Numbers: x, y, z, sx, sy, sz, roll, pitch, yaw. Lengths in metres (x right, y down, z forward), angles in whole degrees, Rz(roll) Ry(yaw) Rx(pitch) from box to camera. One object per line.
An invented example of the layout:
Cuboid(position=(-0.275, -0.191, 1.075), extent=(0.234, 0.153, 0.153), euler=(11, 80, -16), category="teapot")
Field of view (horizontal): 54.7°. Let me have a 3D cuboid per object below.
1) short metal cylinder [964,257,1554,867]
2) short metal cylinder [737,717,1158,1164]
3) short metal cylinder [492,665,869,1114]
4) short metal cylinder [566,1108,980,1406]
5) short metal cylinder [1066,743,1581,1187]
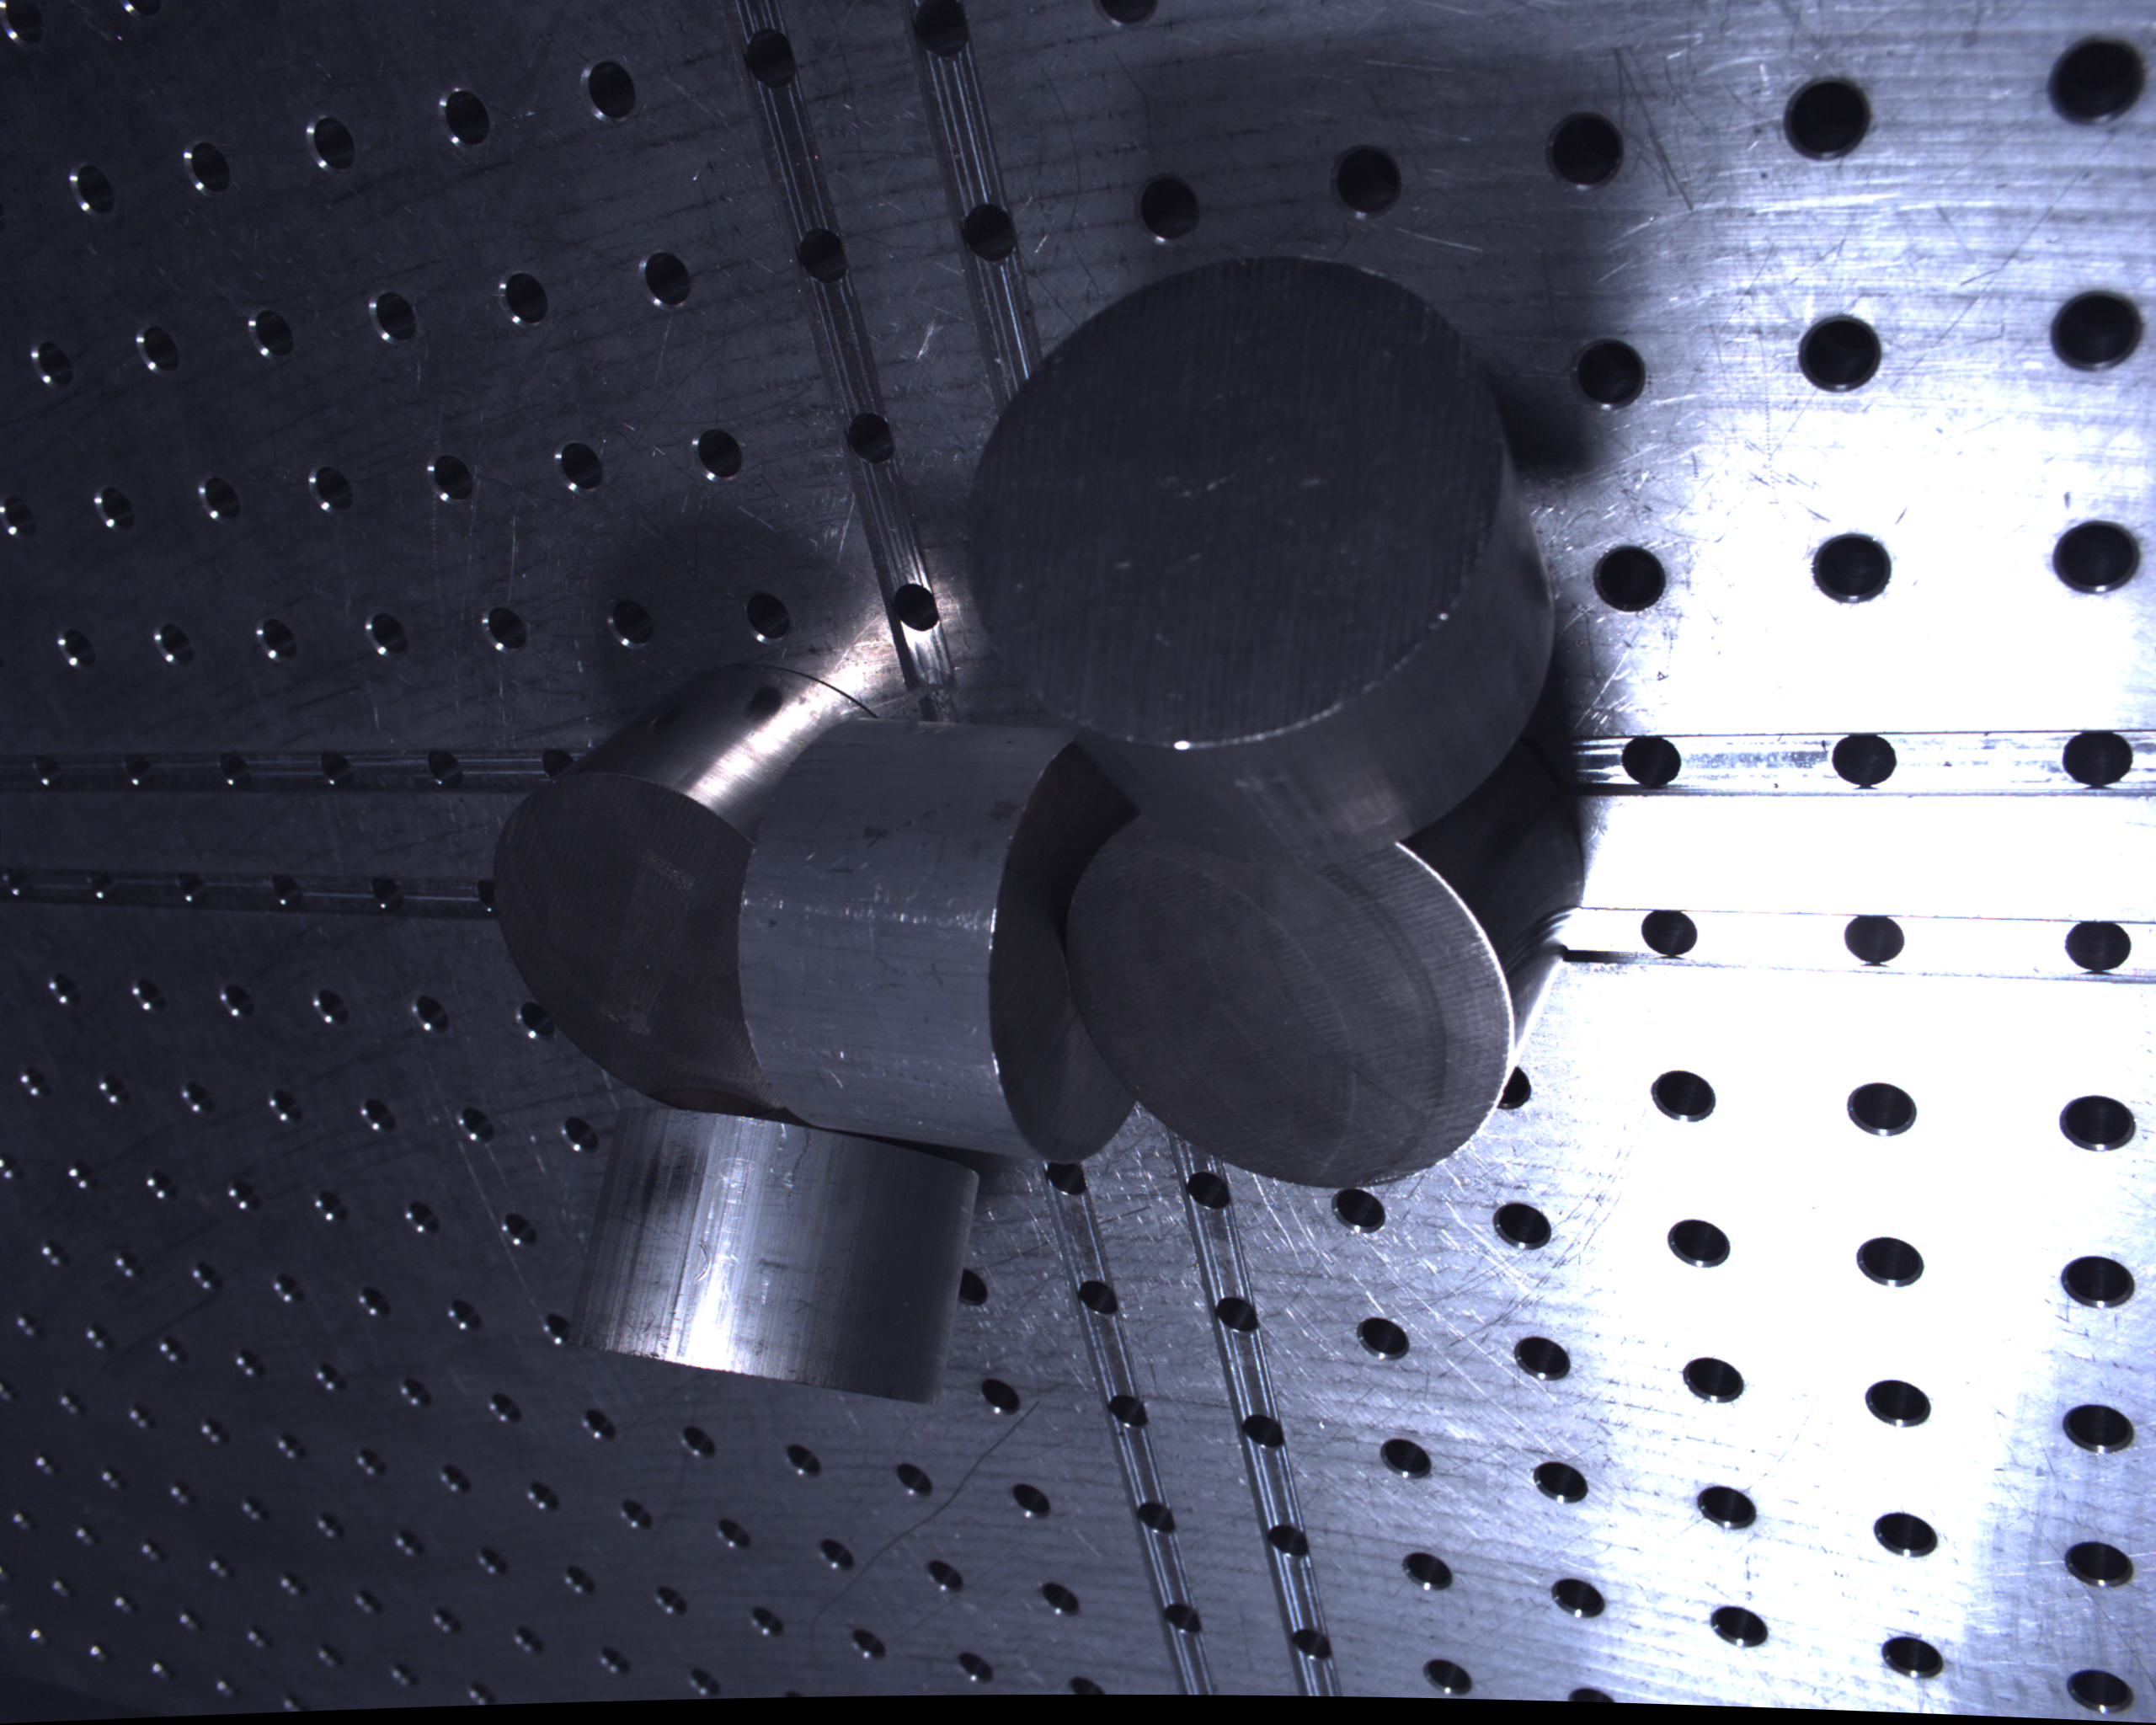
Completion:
Cuboid(position=(0.029, -0.045, 0.323), extent=(0.080, 0.080, 0.050), euler=(8, 164, 23), category="short metal cylinder")
Cuboid(position=(-0.020, 0.014, 0.393), extent=(0.050, 0.080, 0.079), euler=(5, 121, 25), category="short metal cylinder")
Cuboid(position=(-0.073, 0.006, 0.434), extent=(0.080, 0.050, 0.079), euler=(13, 124, 20), category="short metal cylinder")
Cuboid(position=(-0.065, 0.086, 0.454), extent=(0.080, 0.050, 0.080), euler=(9, 165, 3), category="short metal cylinder")
Cuboid(position=(0.045, 0.011, 0.376), extent=(0.080, 0.050, 0.079), euler=(13, 124, 20), category="short metal cylinder")
